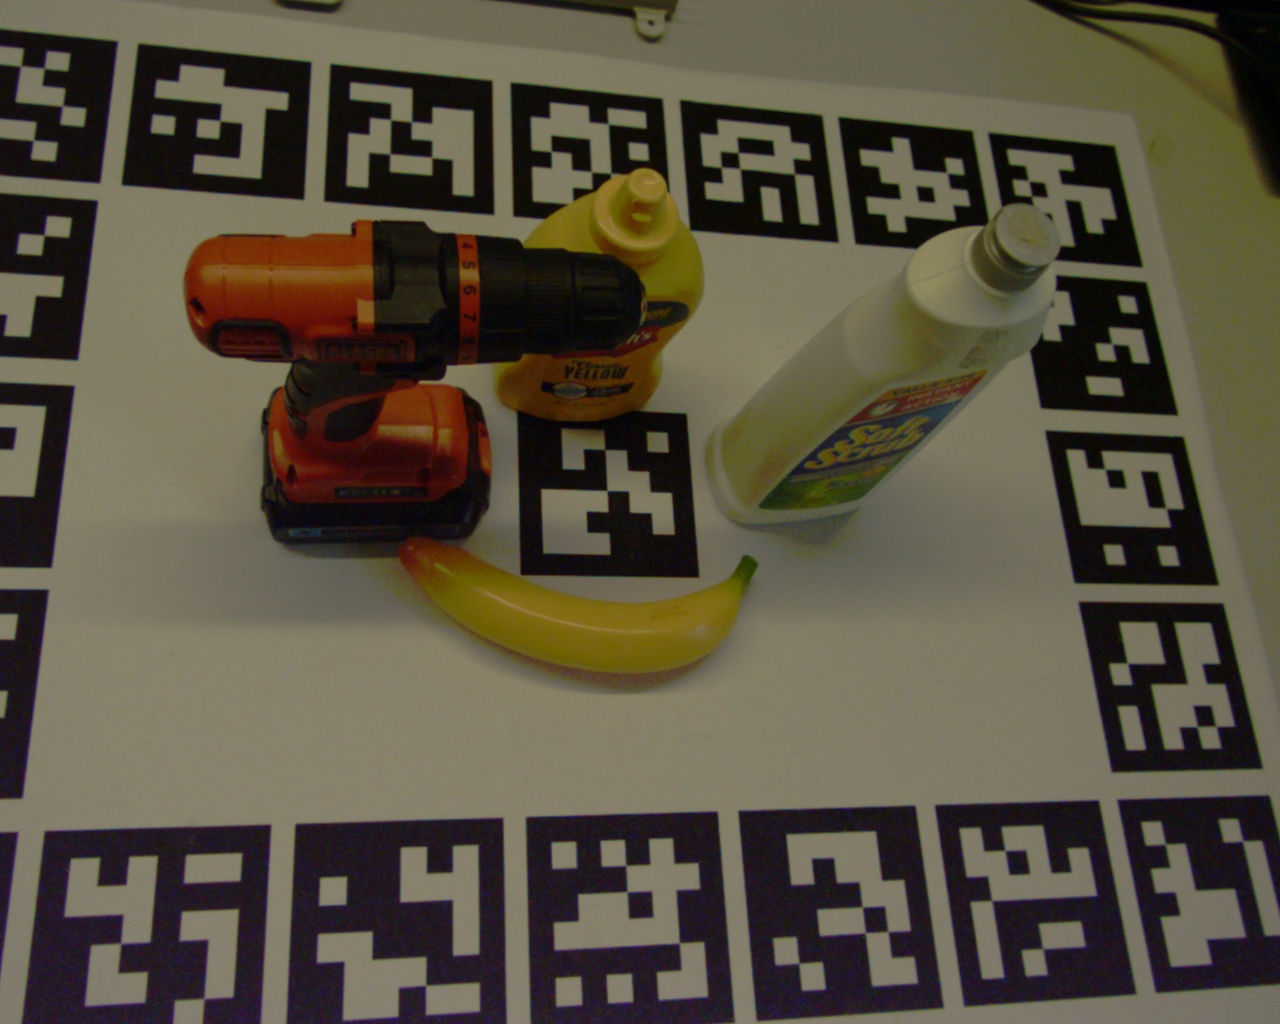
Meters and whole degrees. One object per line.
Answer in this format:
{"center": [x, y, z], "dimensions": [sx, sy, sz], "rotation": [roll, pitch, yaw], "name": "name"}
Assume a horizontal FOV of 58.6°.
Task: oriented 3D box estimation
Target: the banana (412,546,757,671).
{"center": [-0.029, 0.051, 0.638], "dimensions": [0.196, 0.039, 0.074], "rotation": [4, 74, -10], "name": "banana"}

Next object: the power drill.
{"center": [-0.115, -0.059, 0.556], "dimensions": [0.183, 0.188, 0.057], "rotation": [-1, 65, -17], "name": "power drill"}

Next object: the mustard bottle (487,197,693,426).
{"center": [-0.024, -0.108, 0.615], "dimensions": [0.095, 0.192, 0.058], "rotation": [2, 70, -15], "name": "mustard bottle"}

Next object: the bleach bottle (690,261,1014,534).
{"center": [0.110, -0.057, 0.605], "dimensions": [0.102, 0.252, 0.068], "rotation": [-7, 74, -16], "name": "bleach bottle"}
